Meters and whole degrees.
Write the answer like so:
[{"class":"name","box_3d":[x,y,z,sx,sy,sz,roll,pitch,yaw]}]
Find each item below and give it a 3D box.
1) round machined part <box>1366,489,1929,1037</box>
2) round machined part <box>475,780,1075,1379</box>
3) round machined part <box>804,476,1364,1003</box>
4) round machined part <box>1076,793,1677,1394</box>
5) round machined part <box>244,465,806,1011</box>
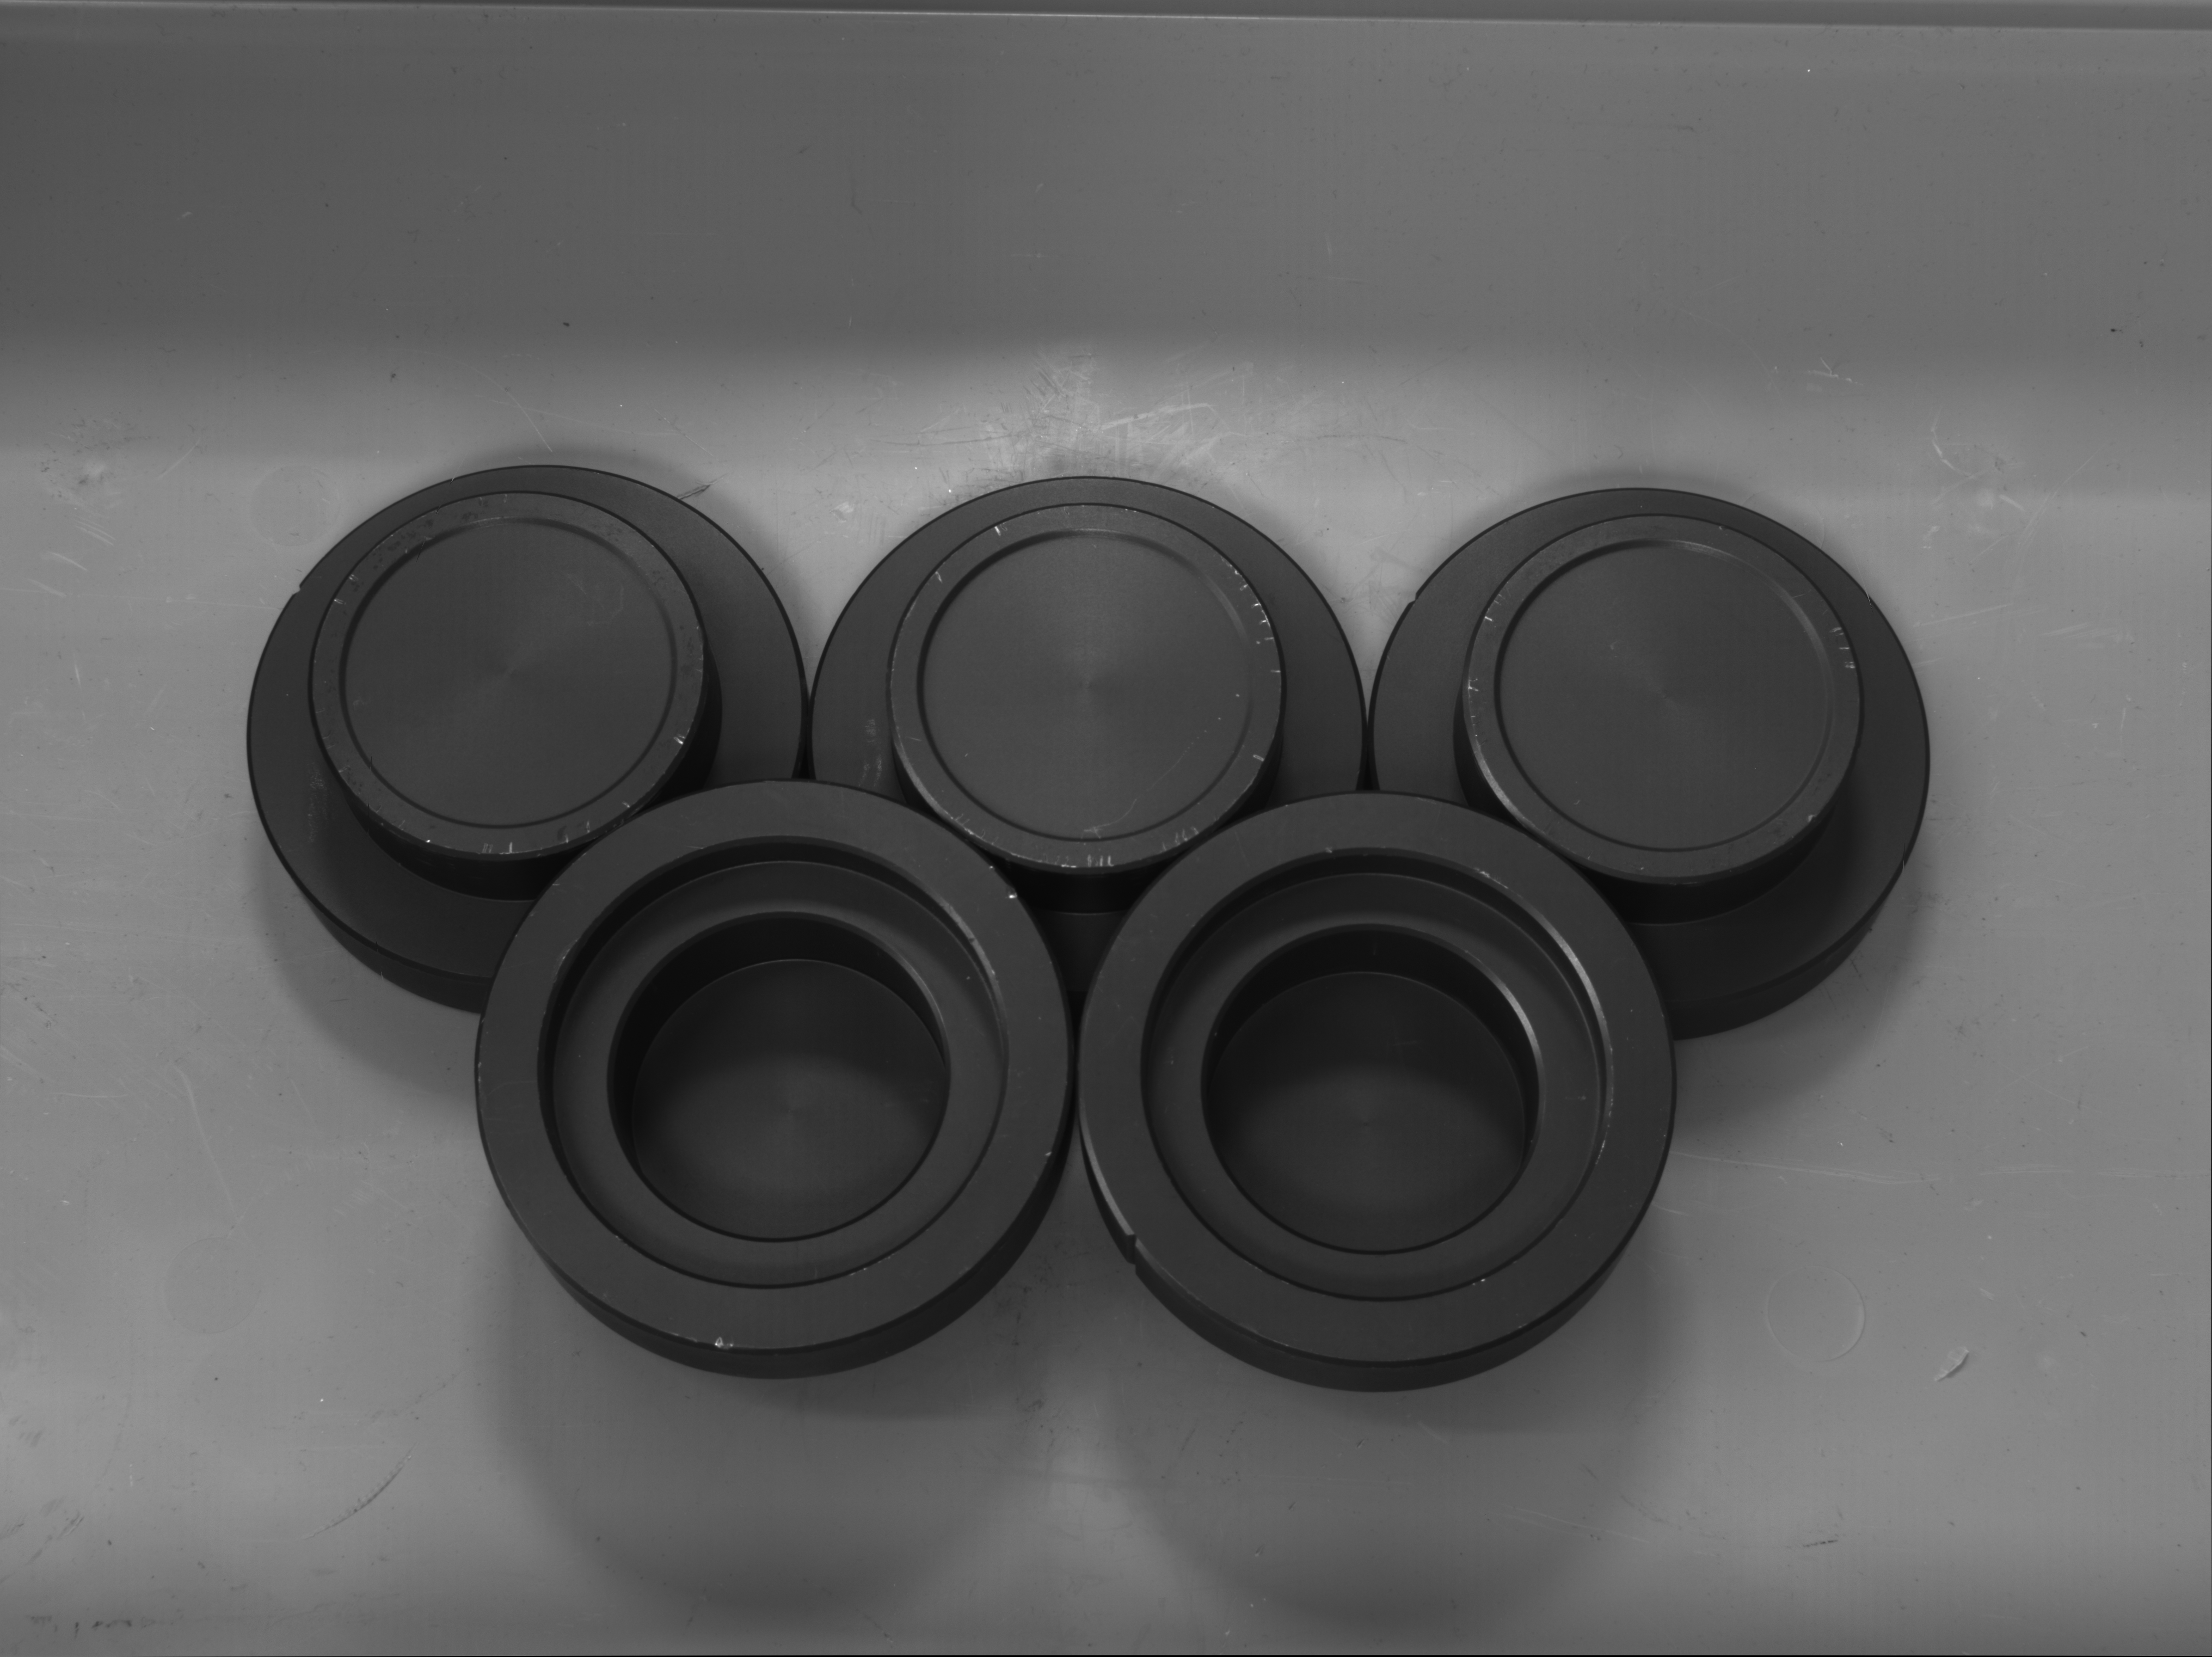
[{"class":"round machined part","box_3d":[0.095,-0.016,0.639,0.098,0.042,0.098,0,69,1]},{"class":"round machined part","box_3d":[-0.054,0.045,0.618,0.098,0.042,0.098,0,70,0]},{"class":"round machined part","box_3d":[-0.004,-0.018,0.640,0.098,0.042,0.098,0,69,1]},{"class":"round machined part","box_3d":[0.044,0.047,0.617,0.098,0.042,0.098,0,70,0]},{"class":"round machined part","box_3d":[-0.101,-0.020,0.640,0.098,0.042,0.098,0,69,-1]}]
